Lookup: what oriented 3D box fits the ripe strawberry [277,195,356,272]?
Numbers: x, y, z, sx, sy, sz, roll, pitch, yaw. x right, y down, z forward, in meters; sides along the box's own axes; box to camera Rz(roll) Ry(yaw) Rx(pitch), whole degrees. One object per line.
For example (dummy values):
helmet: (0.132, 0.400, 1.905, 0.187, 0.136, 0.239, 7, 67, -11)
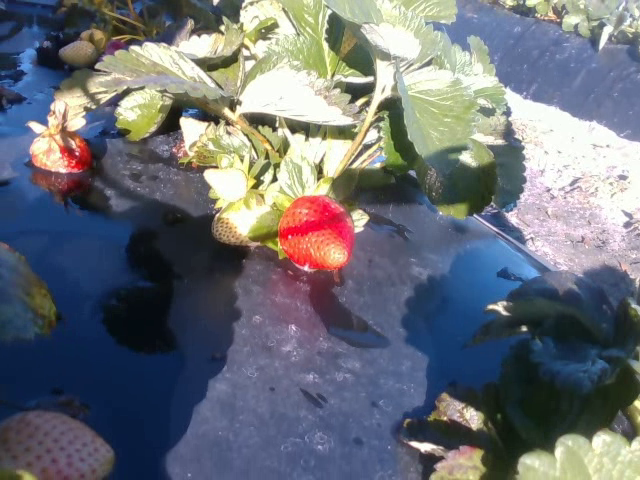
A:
ripe strawberry: (0.002, 0.001, 0.317, 0.049, 0.052, 0.064, -32, 33, -6)
